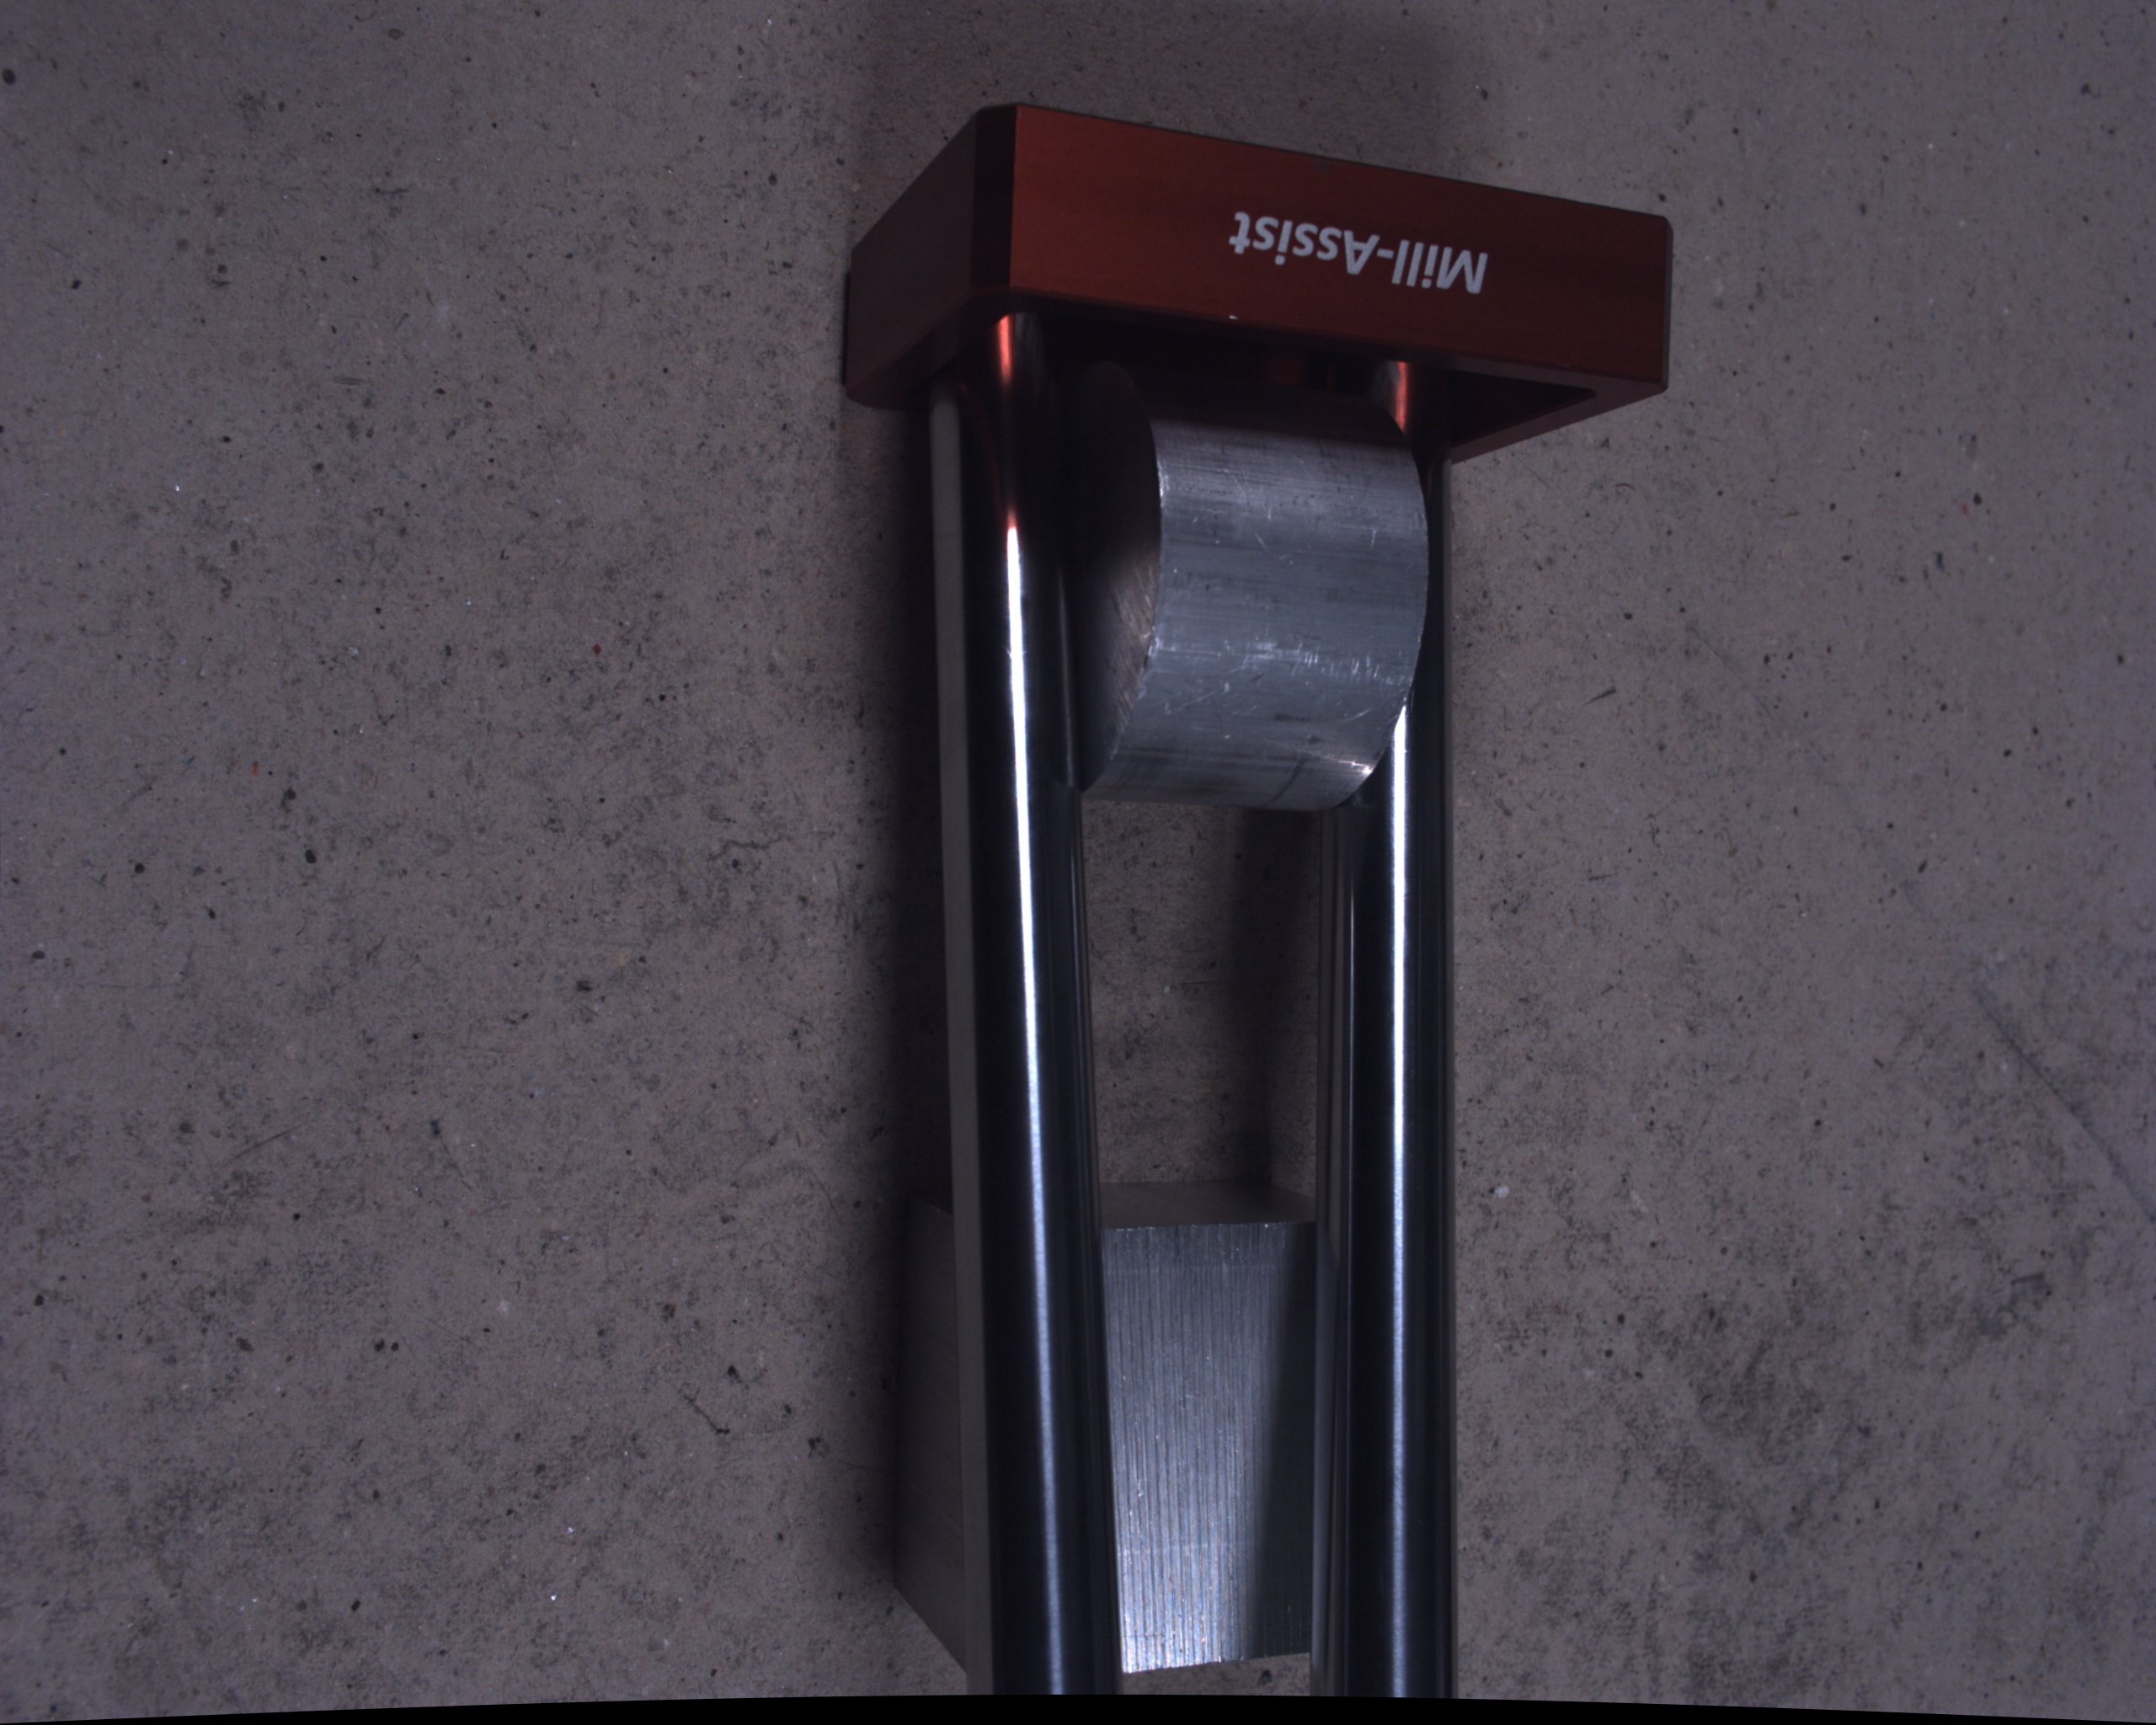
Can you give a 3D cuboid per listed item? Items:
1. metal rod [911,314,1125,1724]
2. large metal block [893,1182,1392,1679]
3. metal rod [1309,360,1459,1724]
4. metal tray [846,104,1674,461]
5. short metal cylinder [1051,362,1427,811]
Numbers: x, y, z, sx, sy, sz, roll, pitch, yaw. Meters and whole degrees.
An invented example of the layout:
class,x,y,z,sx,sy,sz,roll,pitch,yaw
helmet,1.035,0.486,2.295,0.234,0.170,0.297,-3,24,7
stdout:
class,x,y,z,sx,sy,sz,roll,pitch,yaw
metal rod,-0.011,0.042,0.359,0.025,0.025,0.299,2,74,-20
large metal block,0.011,0.105,0.400,0.081,0.050,0.079,2,90,-20
metal rod,0.056,0.046,0.383,0.025,0.025,0.299,9,72,-20
metal tray,0.031,-0.102,0.388,0.131,0.090,0.030,2,90,-20
short metal cylinder,0.023,-0.050,0.391,0.050,0.080,0.079,2,90,-21
